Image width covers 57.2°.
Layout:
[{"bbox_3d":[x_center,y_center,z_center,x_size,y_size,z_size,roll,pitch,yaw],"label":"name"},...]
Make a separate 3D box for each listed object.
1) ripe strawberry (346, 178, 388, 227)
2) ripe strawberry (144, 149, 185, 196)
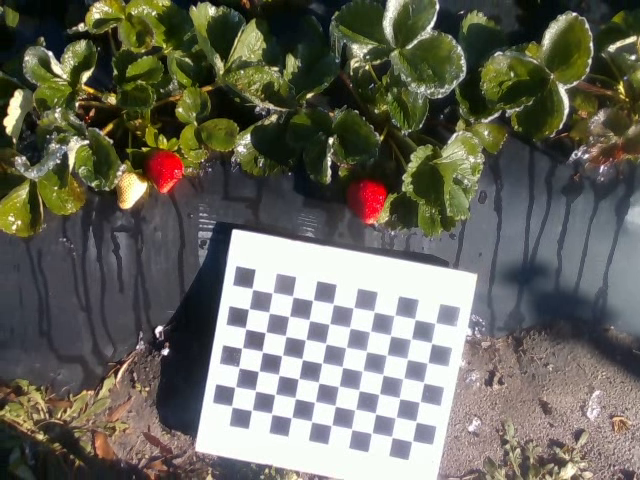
[{"bbox_3d":[0.052,-0.042,0.649,0.048,0.061,0.044,4,-28,1],"label":"ripe strawberry"},{"bbox_3d":[-0.174,-0.070,0.657,0.042,0.061,0.046,-4,-37,2],"label":"ripe strawberry"}]
